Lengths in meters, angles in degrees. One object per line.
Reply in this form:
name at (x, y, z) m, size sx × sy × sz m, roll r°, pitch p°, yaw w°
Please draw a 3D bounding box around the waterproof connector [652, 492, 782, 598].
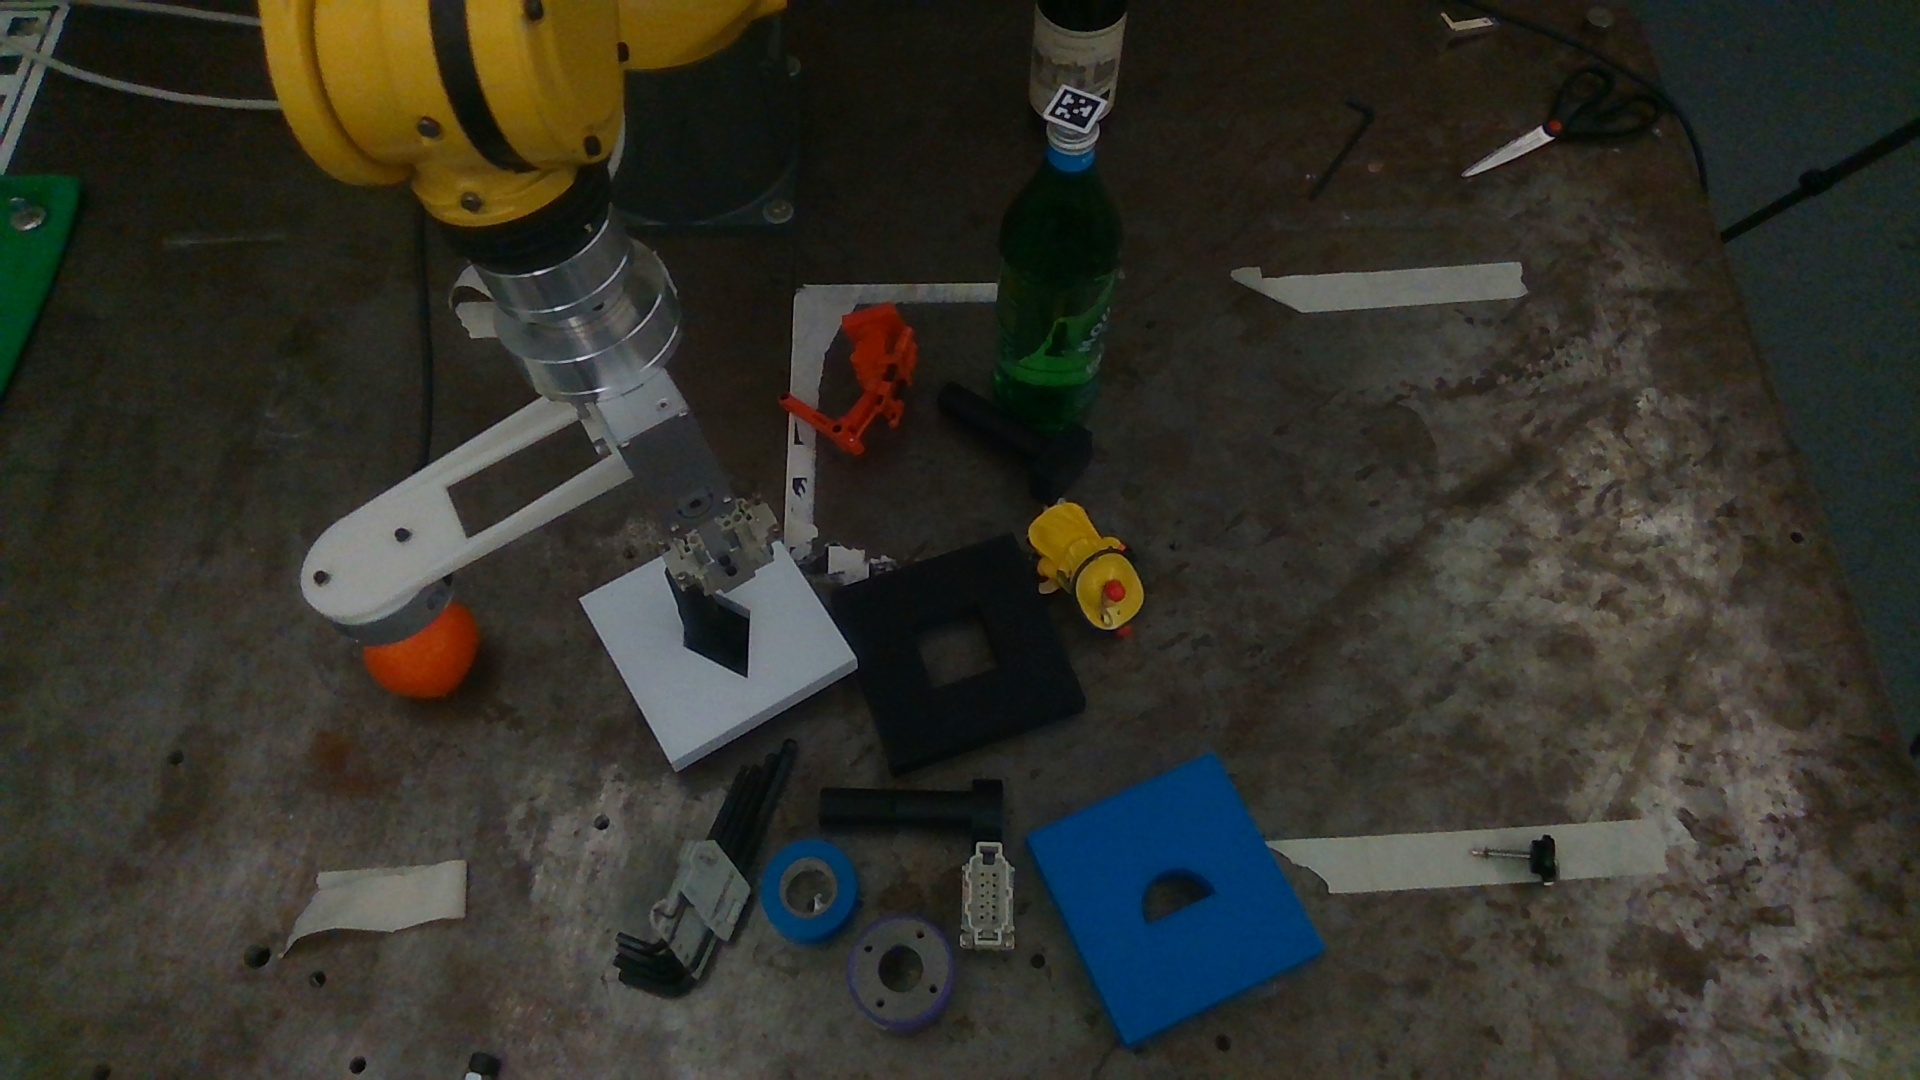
waterproof connector at (-0.134, 0.001, 0.762) m, size 0.069 × 0.038 × 0.037 m, roll -29°, pitch 62°, yaw -8°
